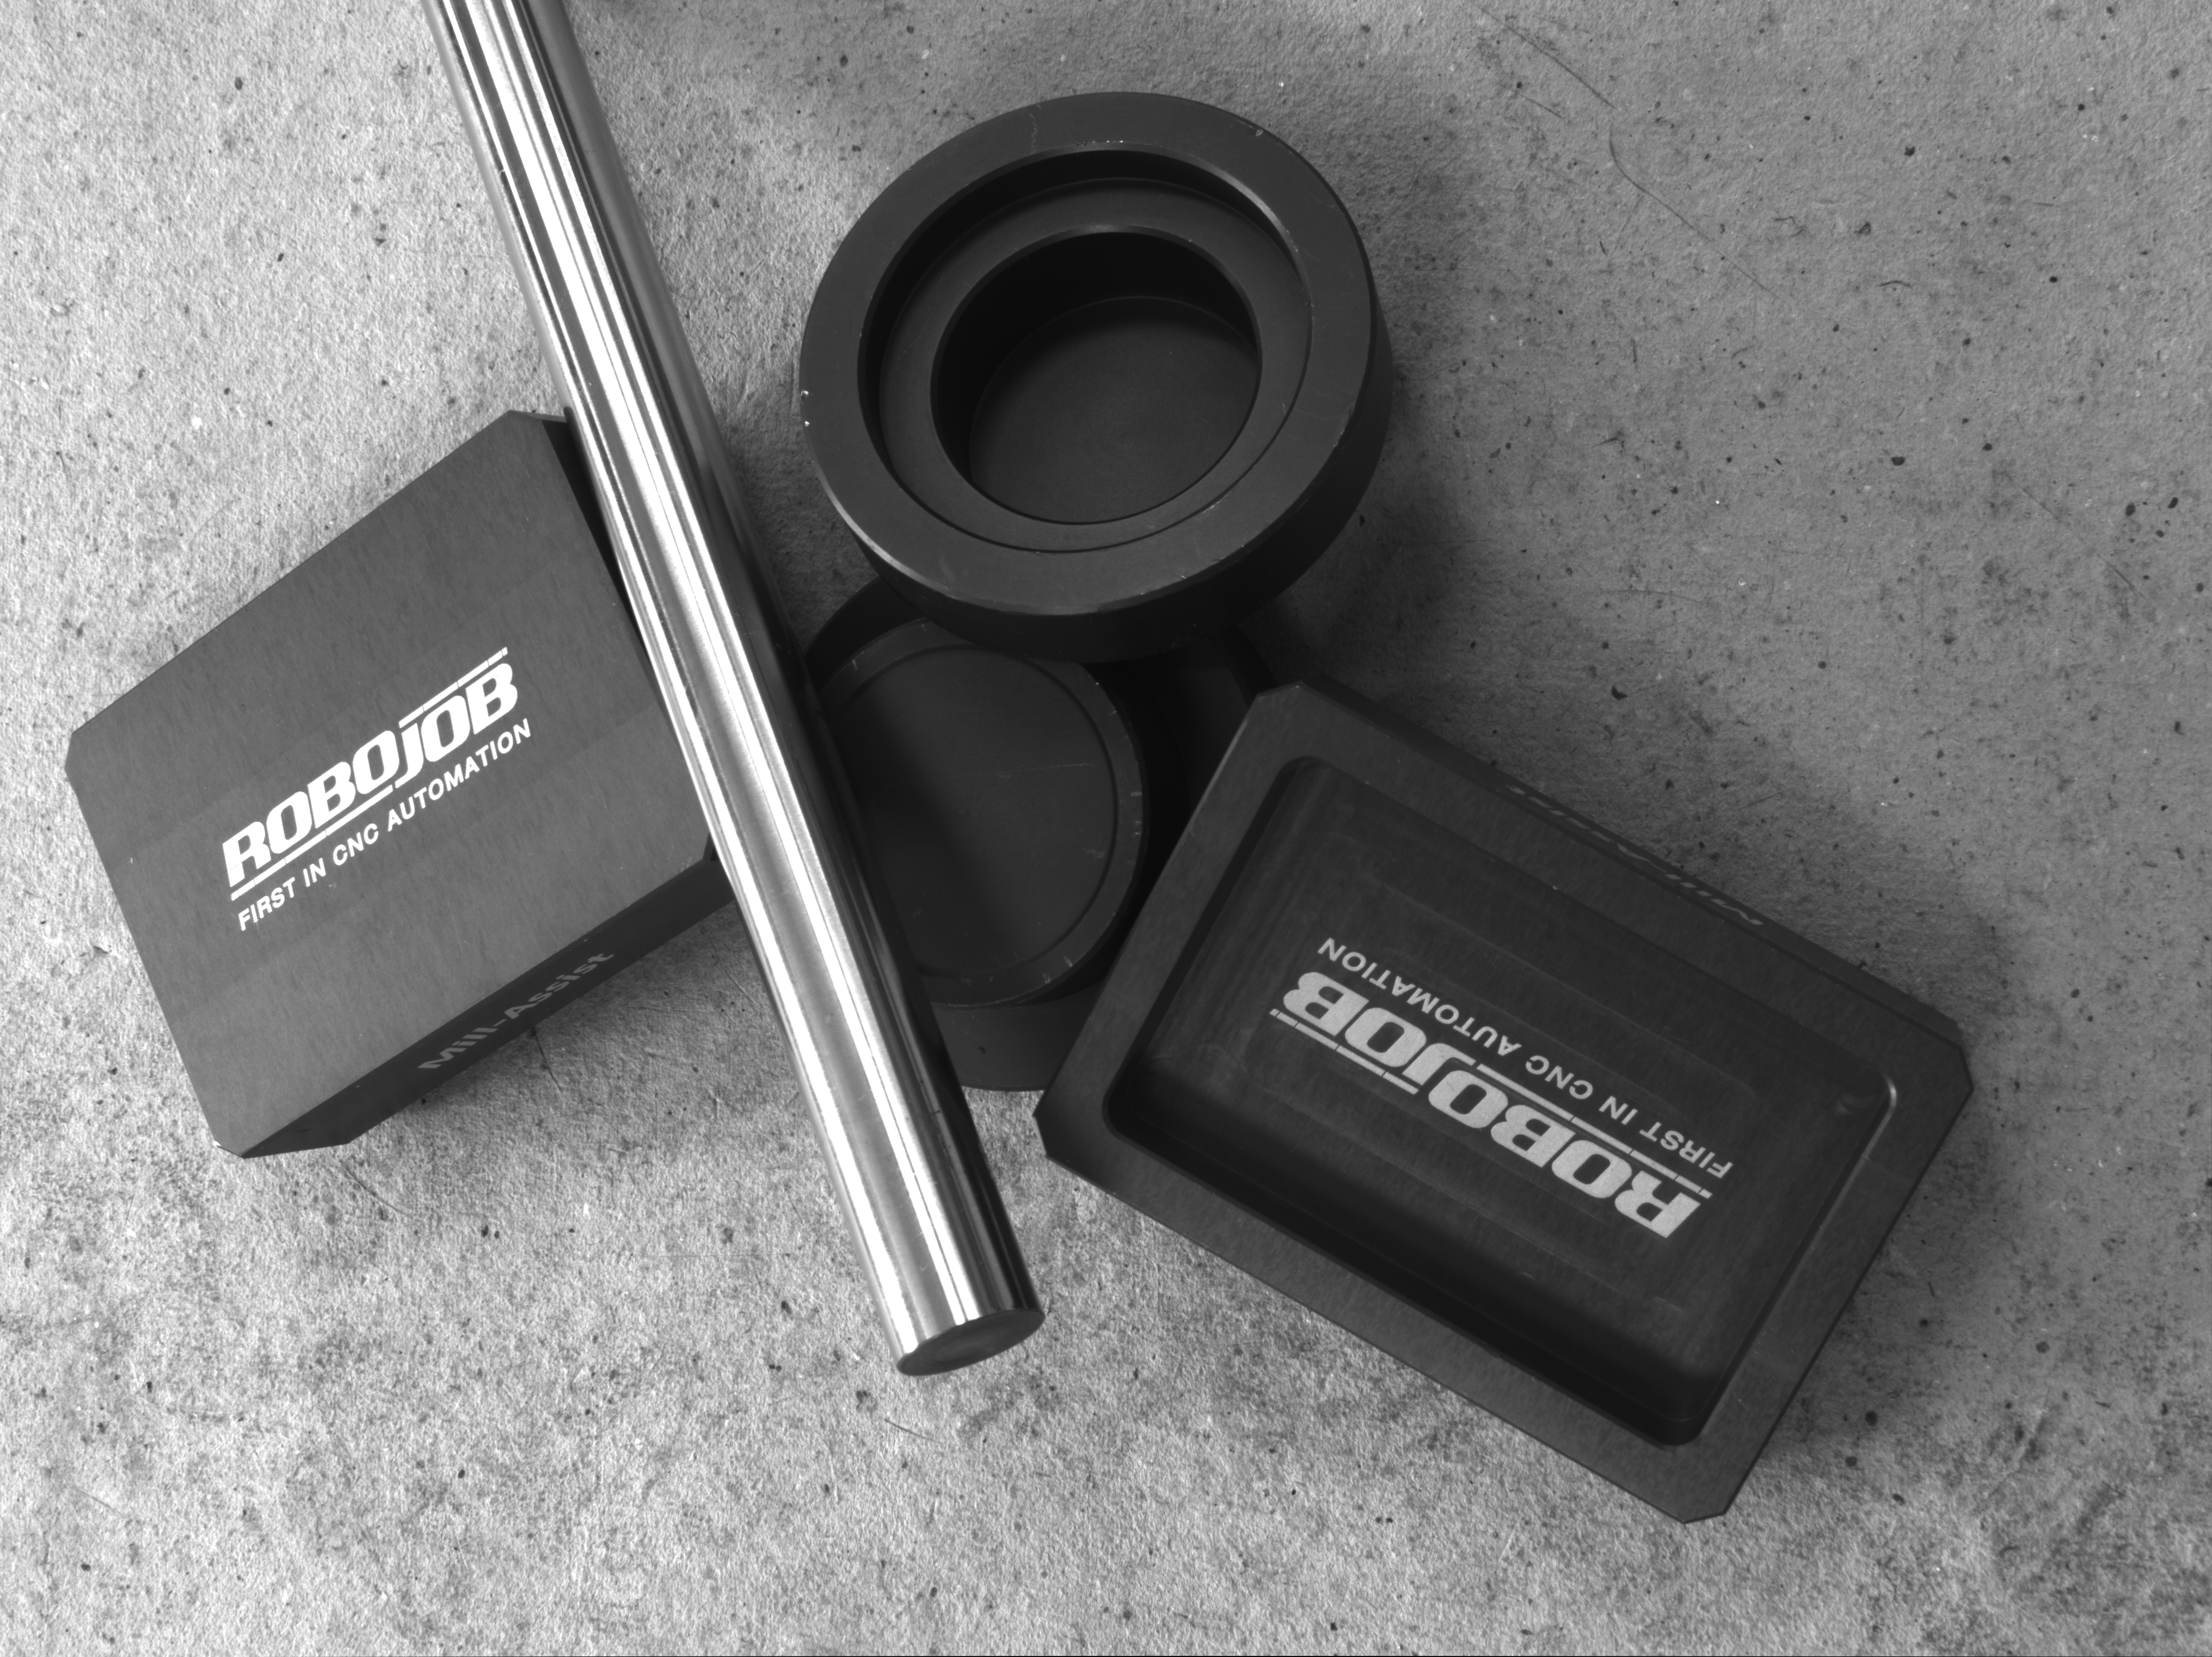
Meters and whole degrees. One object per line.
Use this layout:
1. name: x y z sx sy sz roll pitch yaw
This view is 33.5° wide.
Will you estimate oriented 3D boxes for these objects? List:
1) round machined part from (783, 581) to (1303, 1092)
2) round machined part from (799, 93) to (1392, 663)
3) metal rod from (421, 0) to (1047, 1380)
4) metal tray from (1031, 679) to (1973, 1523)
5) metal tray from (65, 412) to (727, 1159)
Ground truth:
1. round machined part: -0.018 -0.003 0.645 0.098 0.042 0.098 0 90 20
2. round machined part: 0.000 -0.072 0.626 0.098 0.042 0.098 -5 67 11
3. metal rod: -0.072 -0.048 0.638 0.025 0.025 0.300 -29 67 18
4. metal tray: 0.065 0.043 0.609 0.130 0.030 0.090 29 100 7
5. metal tray: -0.126 -0.006 0.679 0.130 0.030 0.090 -31 77 26
